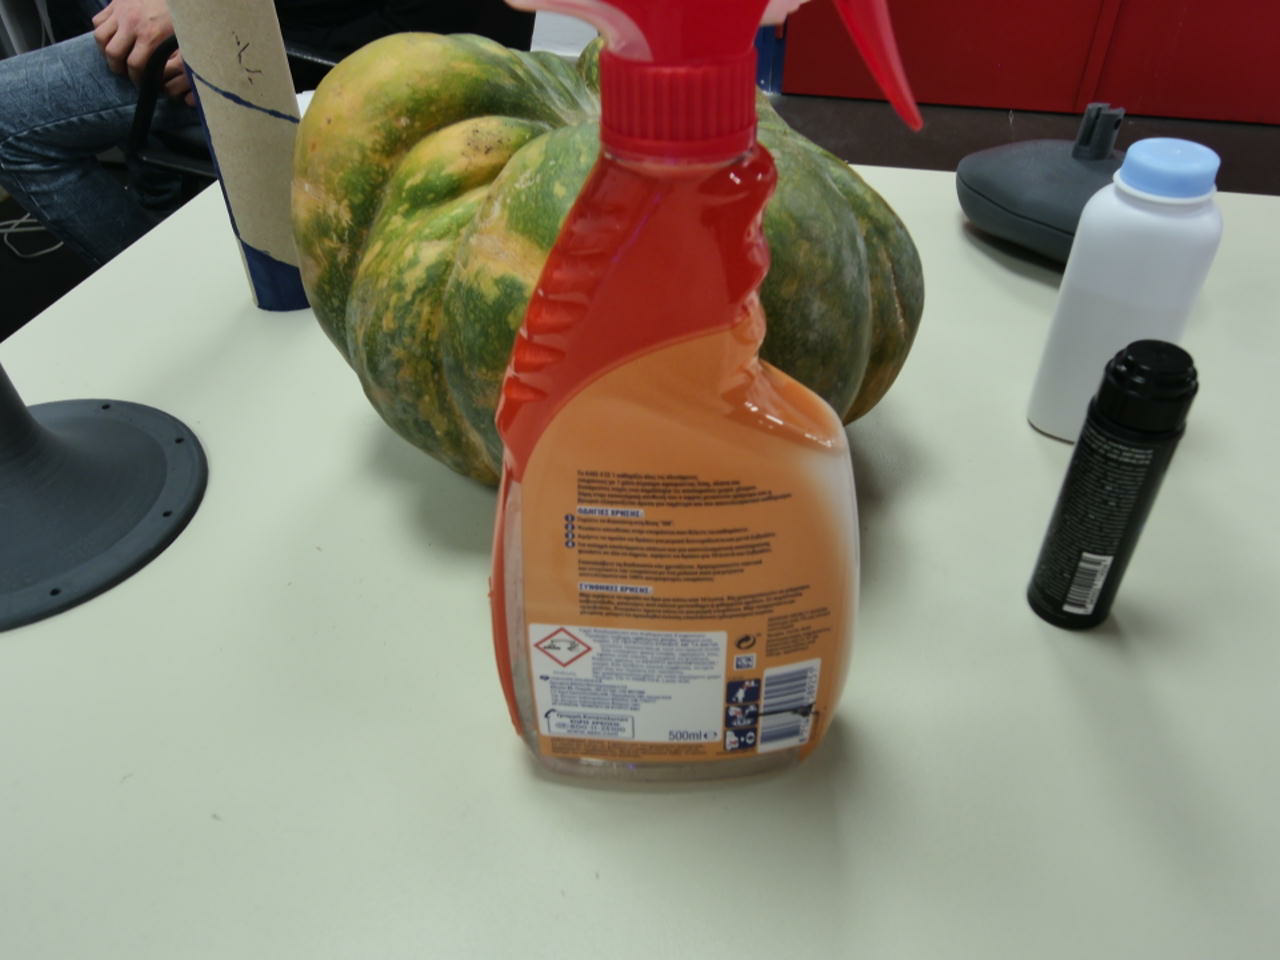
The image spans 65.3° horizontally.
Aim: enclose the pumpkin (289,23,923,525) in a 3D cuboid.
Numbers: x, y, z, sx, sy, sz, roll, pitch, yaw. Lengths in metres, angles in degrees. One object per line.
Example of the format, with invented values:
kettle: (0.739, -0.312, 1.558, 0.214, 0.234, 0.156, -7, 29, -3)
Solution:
pumpkin: (-0.013, -0.096, 0.423, 0.237, 0.173, 0.270, -27, 46, -30)
